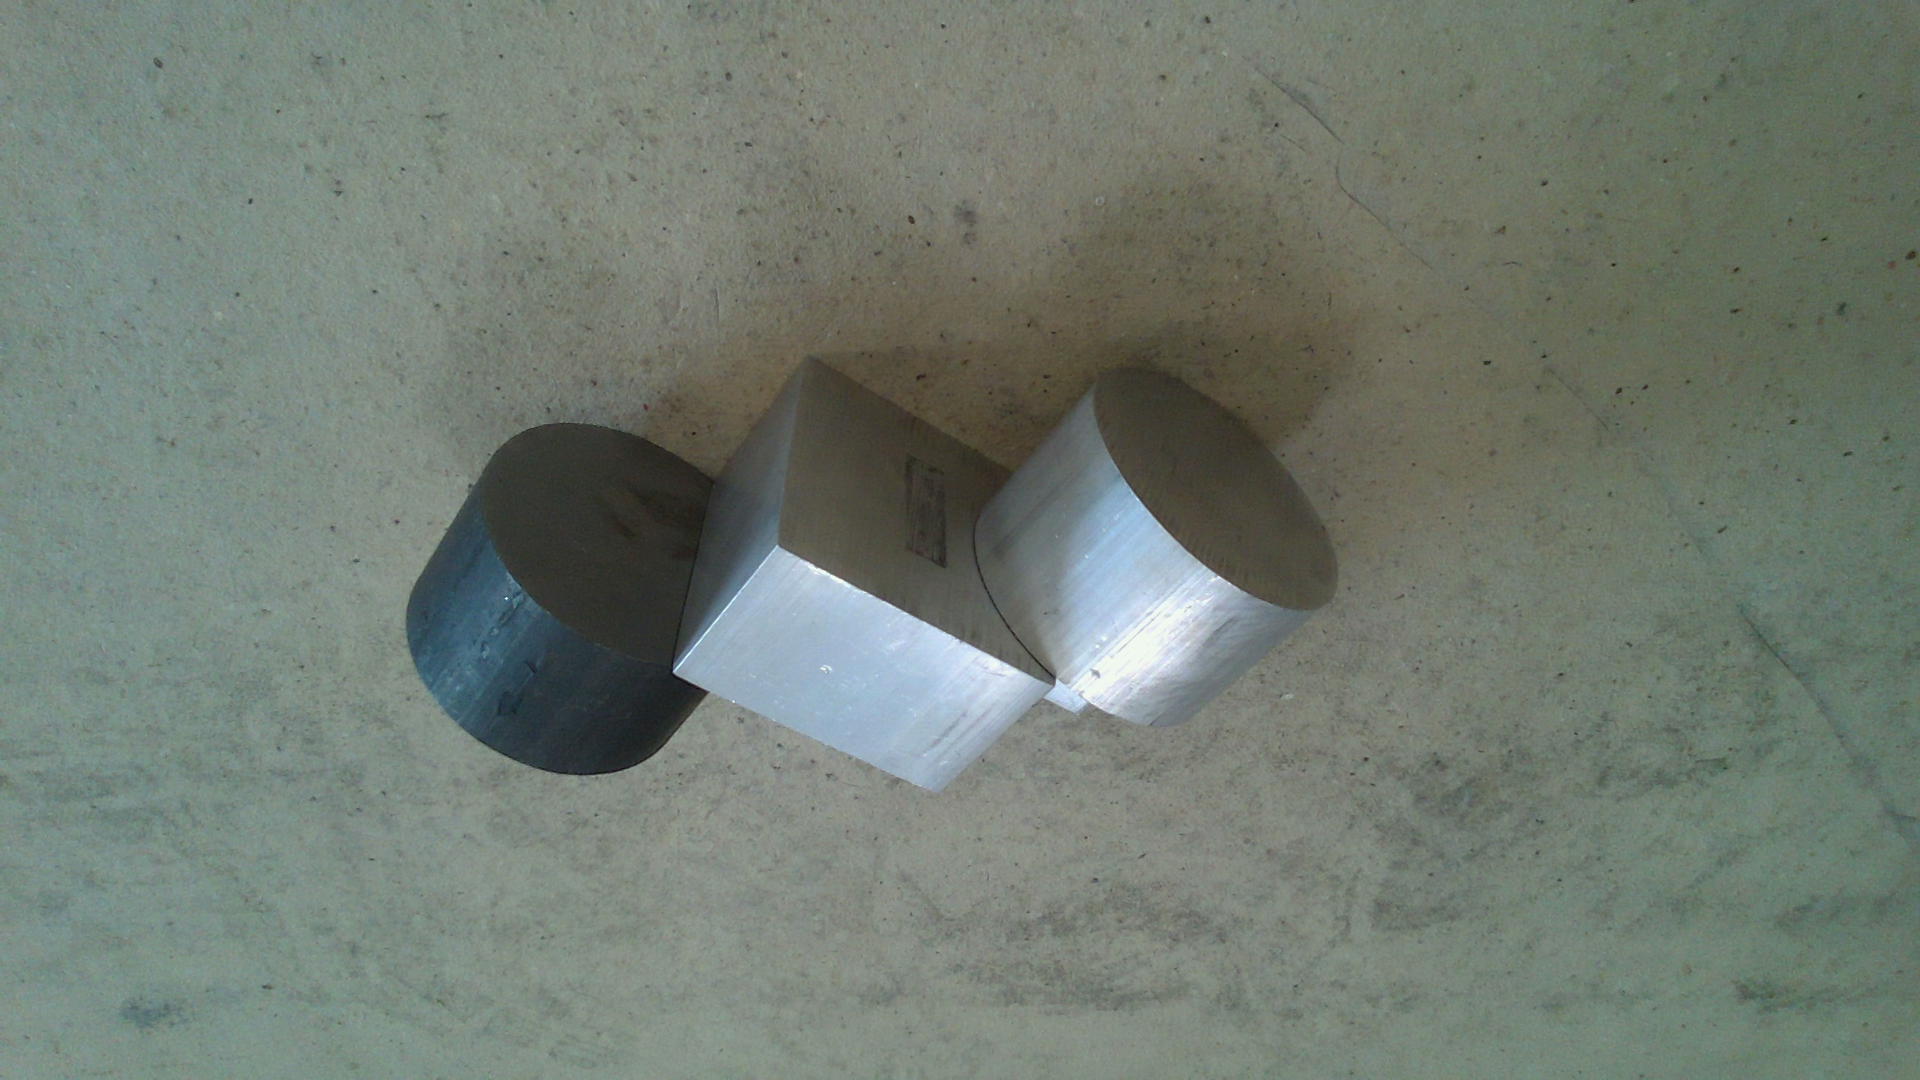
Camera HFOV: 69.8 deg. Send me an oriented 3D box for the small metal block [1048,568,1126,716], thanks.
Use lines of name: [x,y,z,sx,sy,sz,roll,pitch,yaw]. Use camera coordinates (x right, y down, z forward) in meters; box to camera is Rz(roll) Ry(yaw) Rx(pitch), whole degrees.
small metal block: [0.030,0.019,0.408,0.050,0.025,0.050,28,125,-22]

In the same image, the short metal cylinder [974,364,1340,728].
short metal cylinder: [0.051,0.001,0.356,0.080,0.080,0.050,28,125,-22]

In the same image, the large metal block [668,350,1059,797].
large metal block: [-0.023,0.008,0.363,0.080,0.080,0.050,28,125,-22]

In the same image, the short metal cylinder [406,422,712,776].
short metal cylinder: [-0.098,0.015,0.367,0.080,0.080,0.050,28,125,-22]

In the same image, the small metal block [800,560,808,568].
small metal block: [-0.048,0.024,0.412,0.050,0.025,0.050,28,125,-22]
